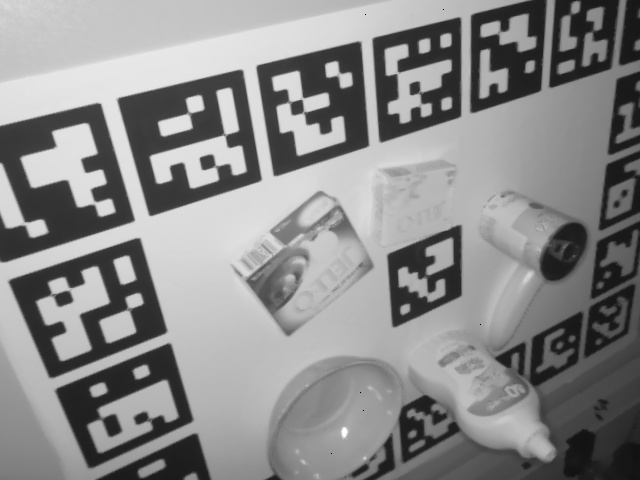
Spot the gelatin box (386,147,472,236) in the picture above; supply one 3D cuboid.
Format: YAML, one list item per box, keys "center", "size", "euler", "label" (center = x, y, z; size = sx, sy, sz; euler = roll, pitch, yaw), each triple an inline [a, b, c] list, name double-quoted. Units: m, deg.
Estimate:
- center: [0.111, -0.050, 0.701]
  size: [0.090, 0.030, 0.073]
  euler: [-13, 116, -25]
  label: "gelatin box"

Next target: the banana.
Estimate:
- center: [0.291, 0.063, 0.853]
  size: [0.075, 0.038, 0.196]
  euler: [24, 100, -46]
  label: "banana"

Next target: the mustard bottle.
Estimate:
- center: [0.204, 0.180, 0.750]
  size: [0.097, 0.190, 0.058]
  euler: [-19, 124, -20]
  label: "mustard bottle"

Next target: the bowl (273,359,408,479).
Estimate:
- center: [0.014, 0.185, 0.746]
  size: [0.164, 0.055, 0.160]
  euler: [-14, 120, -25]
  label: "bowl"

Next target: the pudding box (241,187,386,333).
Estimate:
- center: [-0.005, 0.019, 0.661]
  size: [0.114, 0.038, 0.090]
  euler: [-40, 121, -7]
  label: "pudding box"

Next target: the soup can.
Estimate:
- center: [0.259, -0.004, 0.752]
  size: [0.069, 0.101, 0.067]
  euler: [-13, 121, -22]
  label: "soup can"
